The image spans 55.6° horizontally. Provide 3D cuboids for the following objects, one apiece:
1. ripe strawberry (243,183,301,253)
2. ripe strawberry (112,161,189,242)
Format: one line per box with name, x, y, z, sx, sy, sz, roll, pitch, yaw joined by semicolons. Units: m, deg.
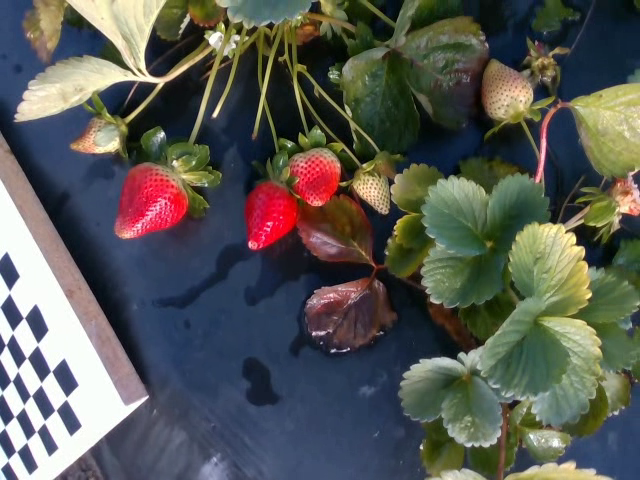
ripe strawberry;-0.039;-0.014;0.408;0.044;0.055;0.042;-8;-45;39
ripe strawberry;-0.123;-0.026;0.418;0.050;0.065;0.050;20;-32;34
